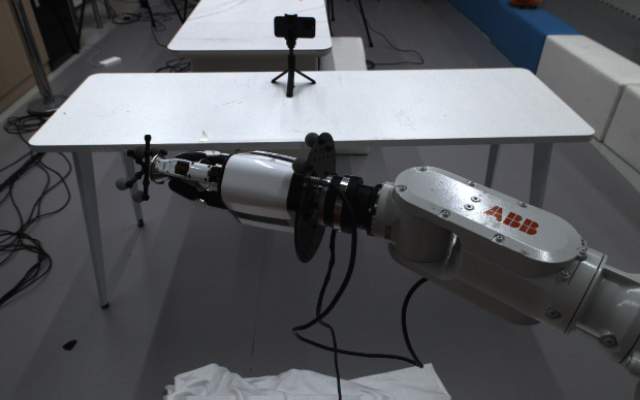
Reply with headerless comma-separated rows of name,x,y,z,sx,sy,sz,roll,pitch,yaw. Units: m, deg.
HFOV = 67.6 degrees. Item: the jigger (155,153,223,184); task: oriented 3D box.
jigger,-0.176,-0.041,0.632,0.071,0.043,0.043,7,35,14
